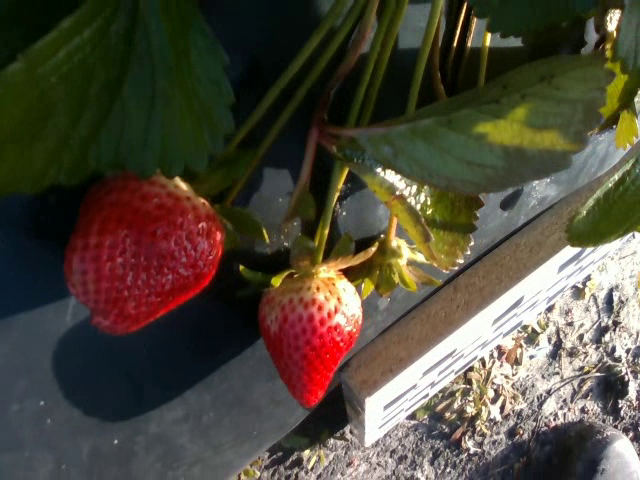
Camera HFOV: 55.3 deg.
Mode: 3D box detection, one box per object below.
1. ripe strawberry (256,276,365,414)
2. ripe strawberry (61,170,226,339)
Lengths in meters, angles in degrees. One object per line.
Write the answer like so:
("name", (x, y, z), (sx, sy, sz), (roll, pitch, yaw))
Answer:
("ripe strawberry", (-0.001, 0.036, 0.209), (0.038, 0.053, 0.043), (6, 9, 39))
("ripe strawberry", (-0.048, 0.003, 0.168), (0.039, 0.054, 0.048), (29, -36, 11))
